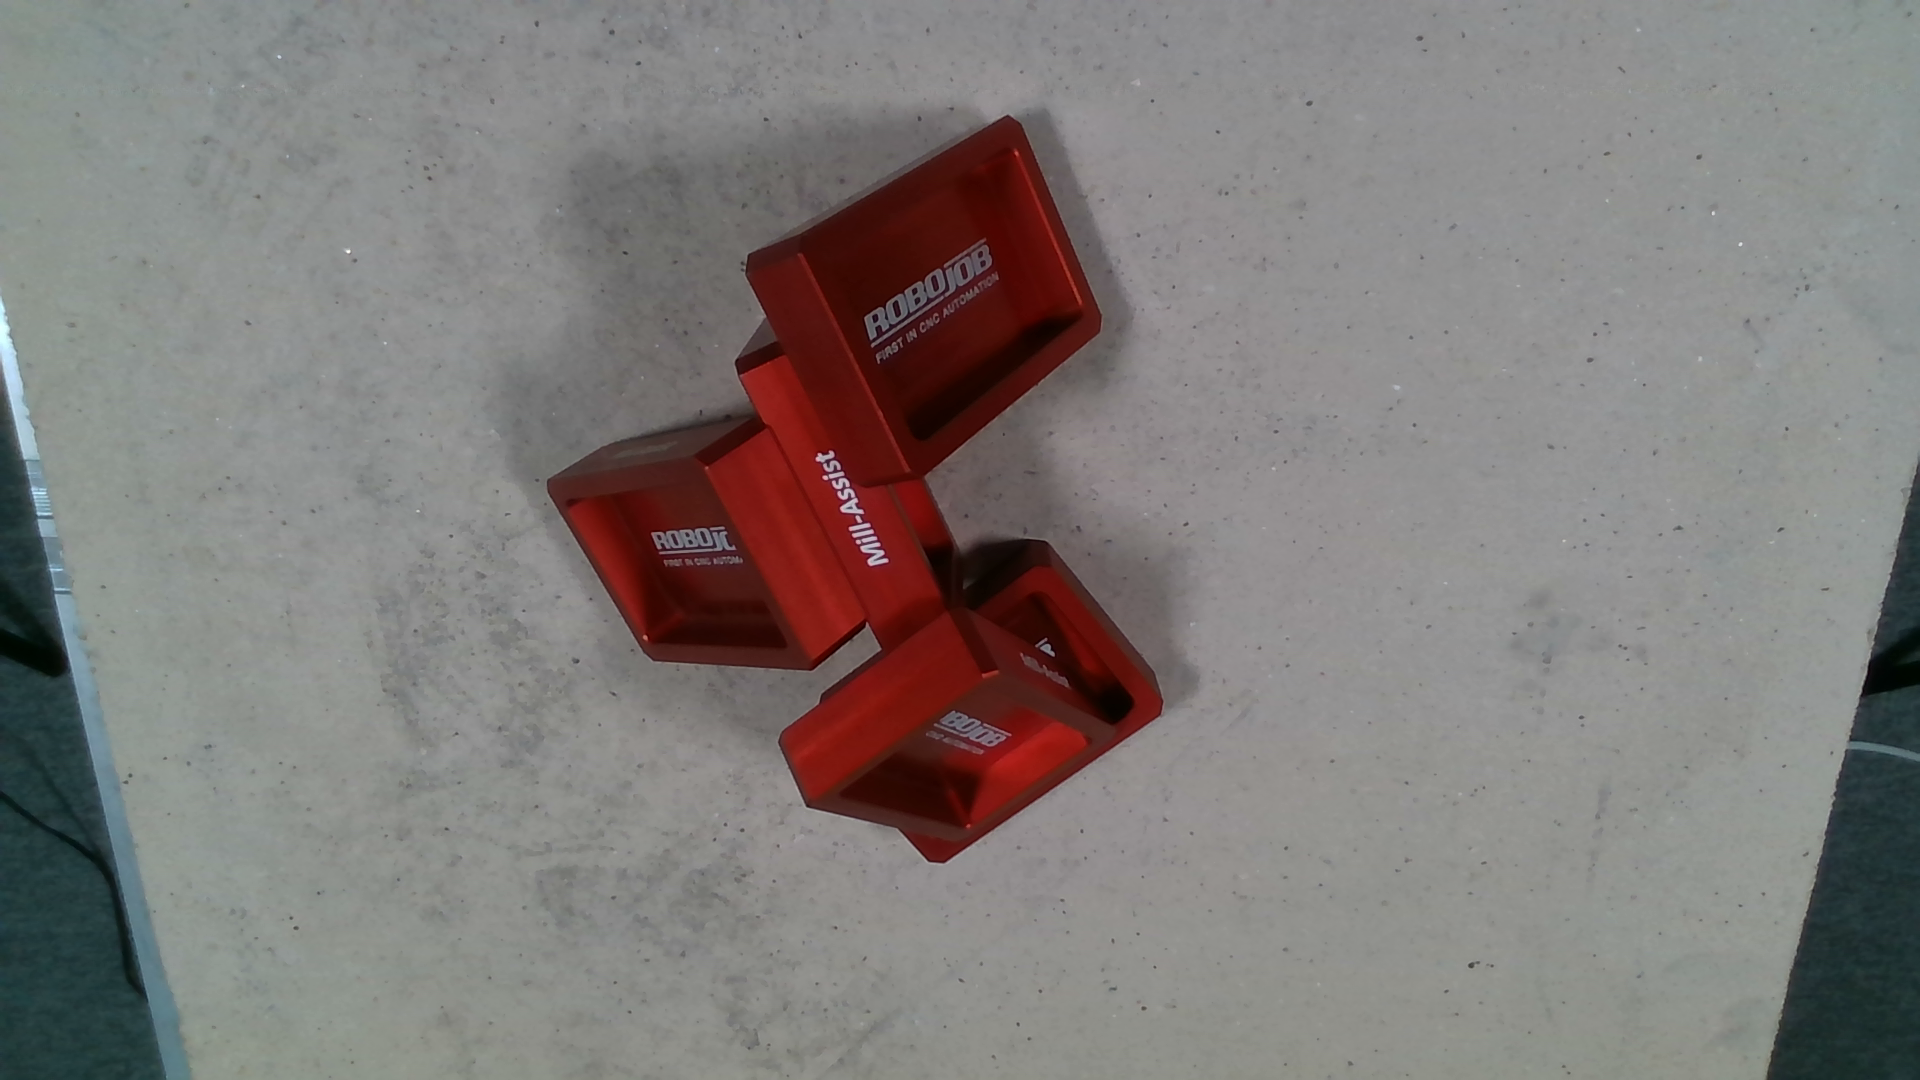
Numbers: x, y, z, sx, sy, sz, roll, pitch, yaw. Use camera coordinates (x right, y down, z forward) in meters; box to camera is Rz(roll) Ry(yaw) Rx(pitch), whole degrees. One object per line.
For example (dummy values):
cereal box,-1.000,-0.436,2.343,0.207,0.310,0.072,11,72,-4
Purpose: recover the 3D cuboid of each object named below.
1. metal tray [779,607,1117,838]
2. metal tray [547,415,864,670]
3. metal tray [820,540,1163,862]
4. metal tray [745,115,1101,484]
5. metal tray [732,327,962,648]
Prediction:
metal tray,-0.001,0.078,0.554,0.090,0.030,0.130,-36,151,13
metal tray,-0.103,0.004,0.540,0.130,0.030,0.090,-4,118,50
metal tray,0.012,0.073,0.609,0.130,0.030,0.090,-37,106,13
metal tray,-0.008,-0.089,0.502,0.030,0.130,0.090,-7,116,44
metal tray,-0.039,-0.027,0.540,0.030,0.090,0.130,-24,108,8
